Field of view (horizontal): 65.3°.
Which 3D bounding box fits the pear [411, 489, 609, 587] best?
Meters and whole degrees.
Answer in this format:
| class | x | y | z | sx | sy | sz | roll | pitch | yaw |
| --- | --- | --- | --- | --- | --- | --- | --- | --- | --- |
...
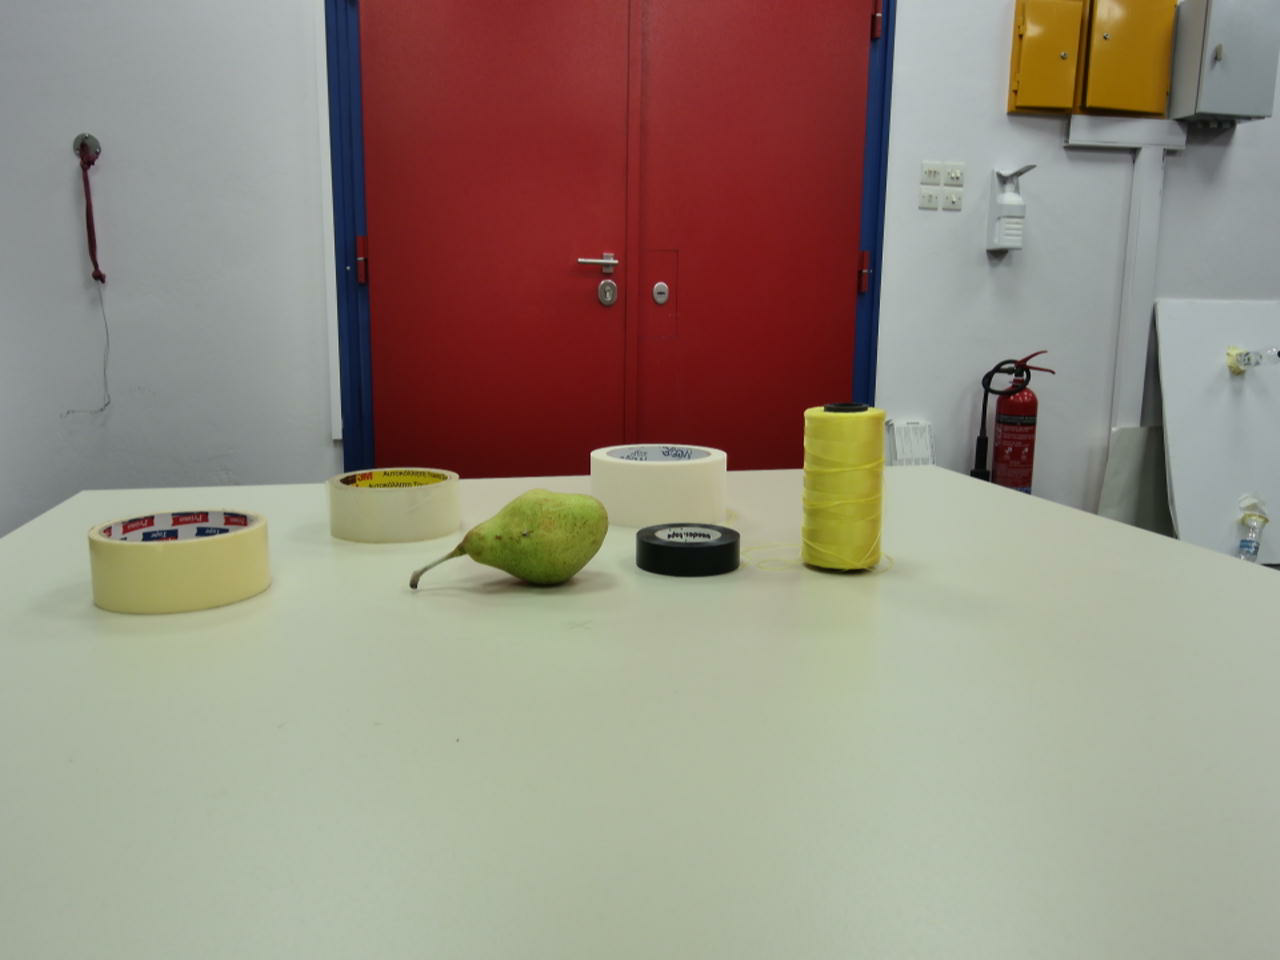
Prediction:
| class | x | y | z | sx | sy | sz | roll | pitch | yaw |
| --- | --- | --- | --- | --- | --- | --- | --- | --- | --- |
| pear | -0.074 | 0.033 | 0.588 | 0.111 | 0.056 | 0.056 | 0 | 8 | 3 |
